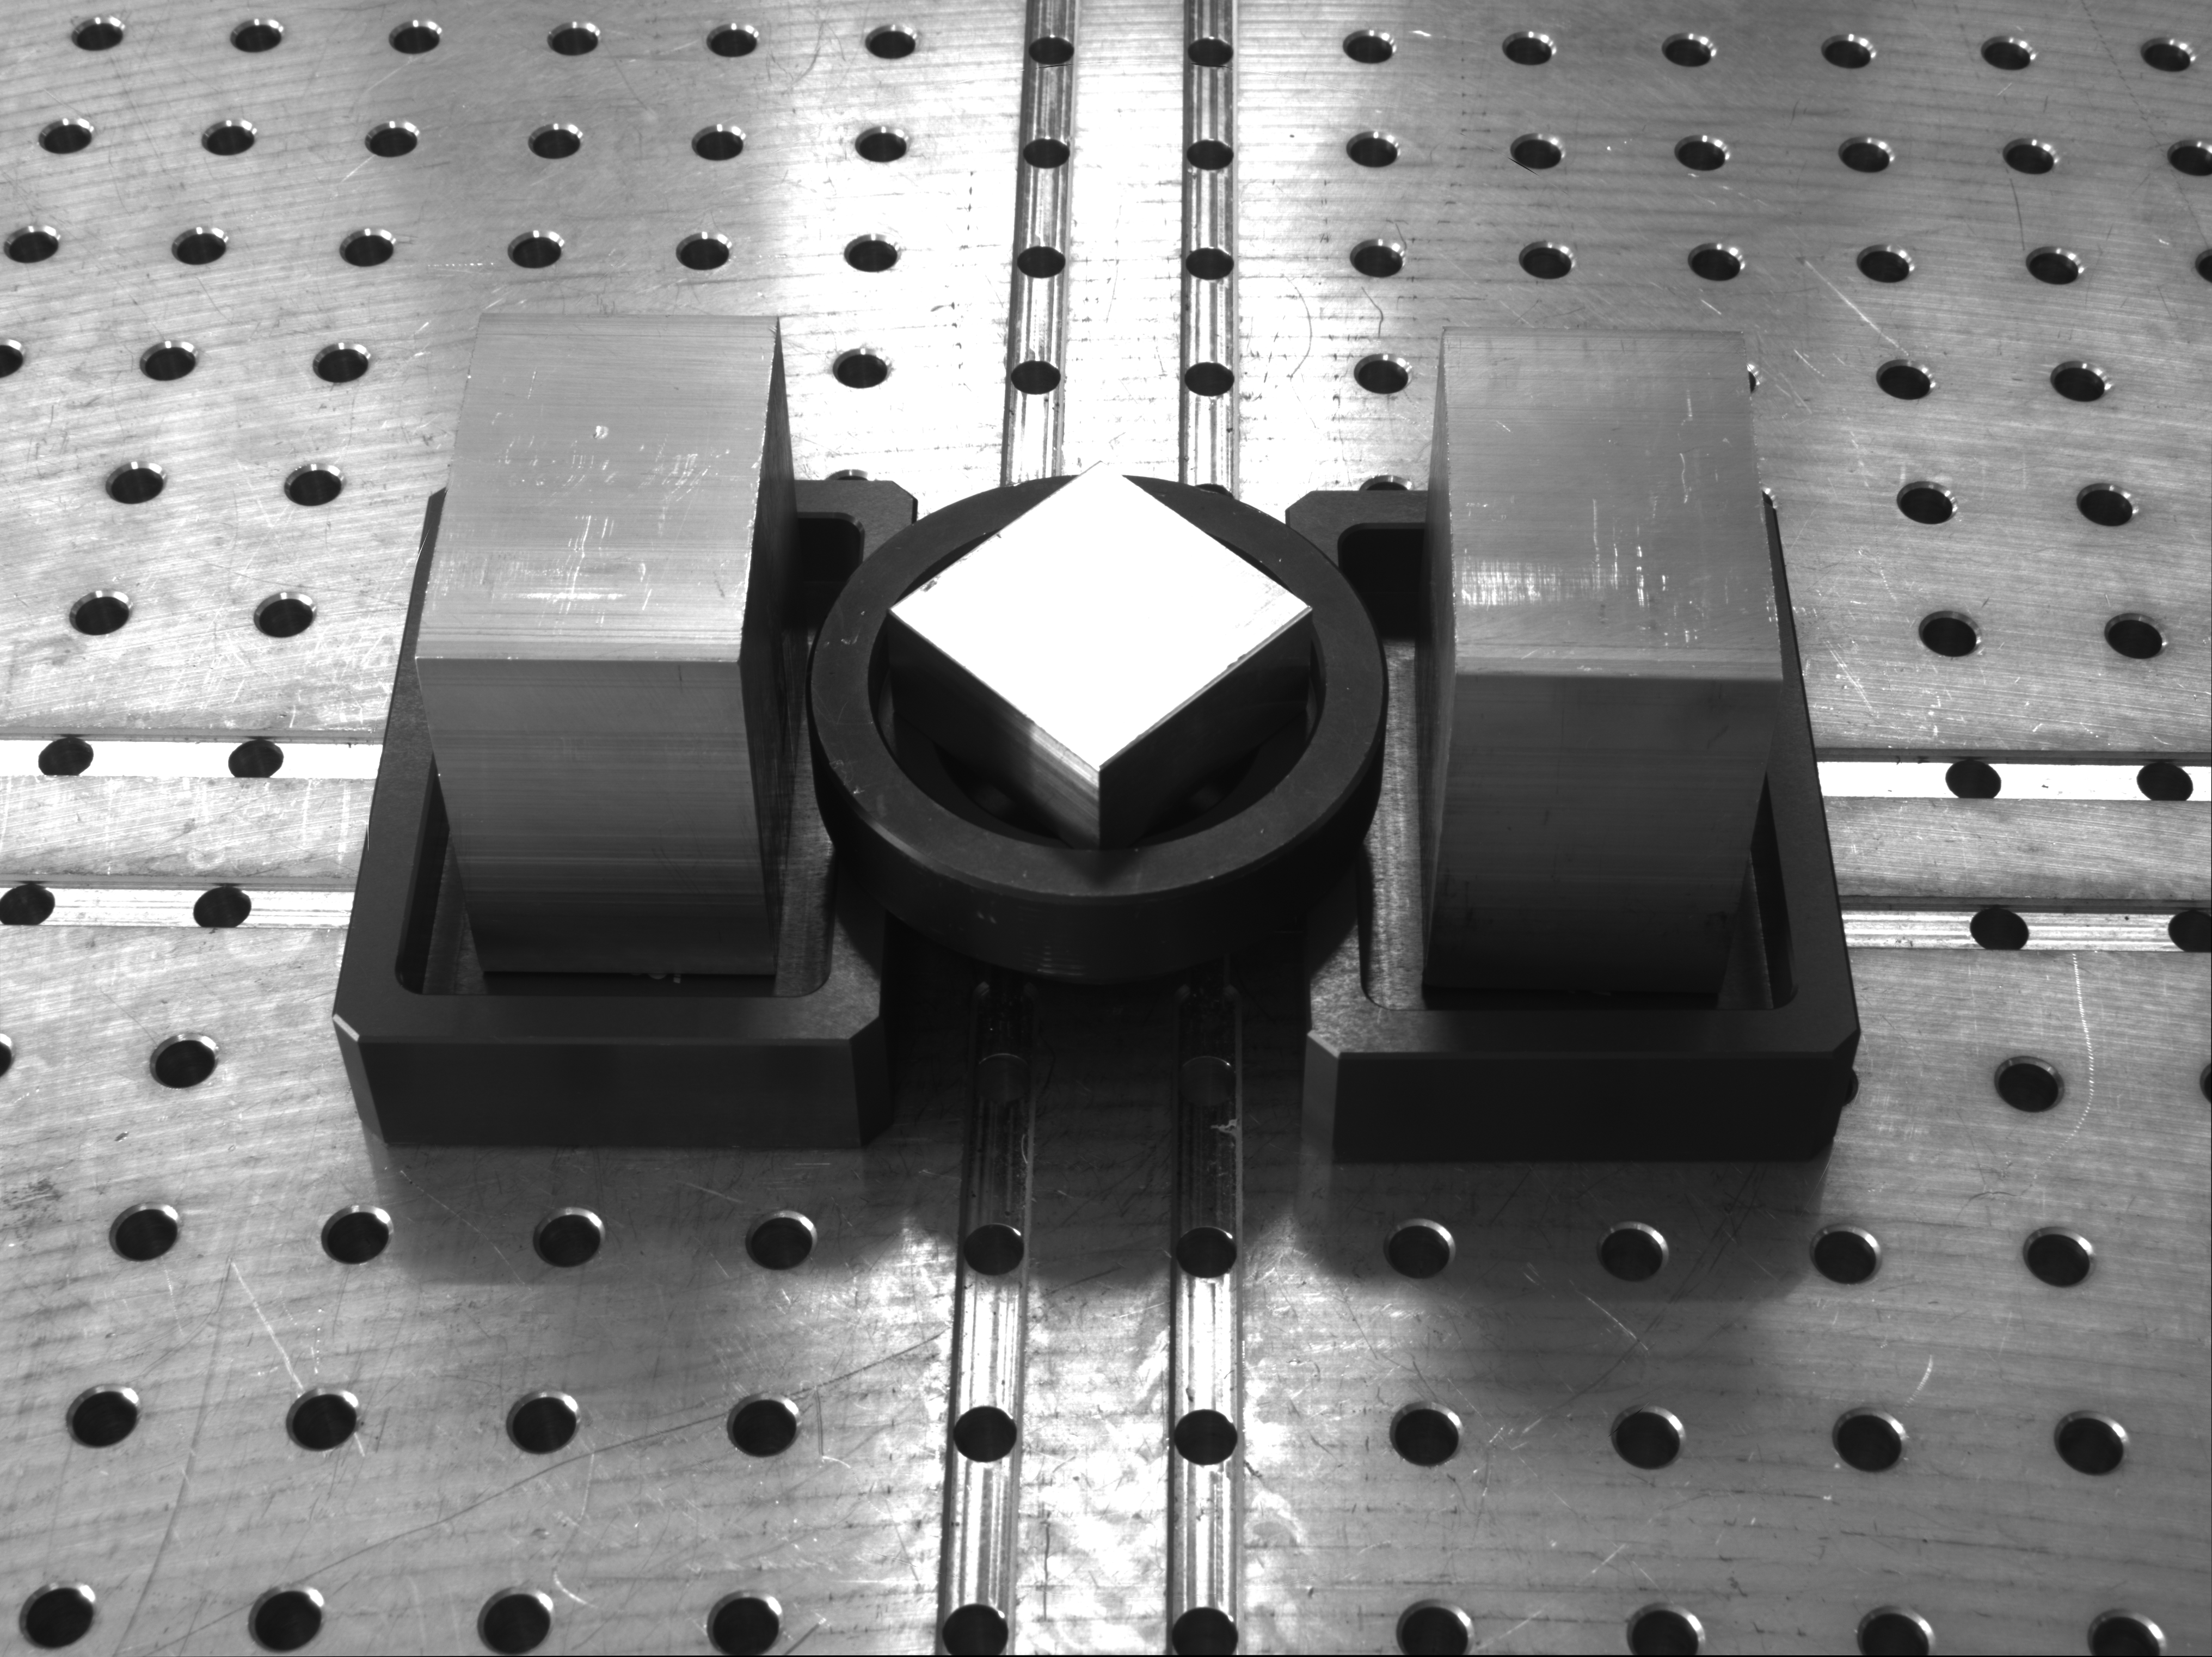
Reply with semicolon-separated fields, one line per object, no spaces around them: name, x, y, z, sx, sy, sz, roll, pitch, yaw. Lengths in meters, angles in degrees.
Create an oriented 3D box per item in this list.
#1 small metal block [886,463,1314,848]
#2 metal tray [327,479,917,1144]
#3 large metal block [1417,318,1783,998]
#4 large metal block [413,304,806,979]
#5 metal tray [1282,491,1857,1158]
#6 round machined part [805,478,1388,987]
small metal block;-0.001;-0.028;0.615;0.050;0.025;0.050;37;59;27
metal tray;-0.081;-0.006;0.646;0.090;0.030;0.130;1;50;1
large metal block;0.080;-0.028;0.615;0.050;0.080;0.080;1;50;1
large metal block;-0.080;-0.031;0.618;0.050;0.080;0.080;1;50;1
metal tray;0.077;-0.004;0.644;0.090;0.030;0.130;0;50;0
round machined part;-0.001;-0.012;0.632;0.098;0.042;0.098;0;50;0
